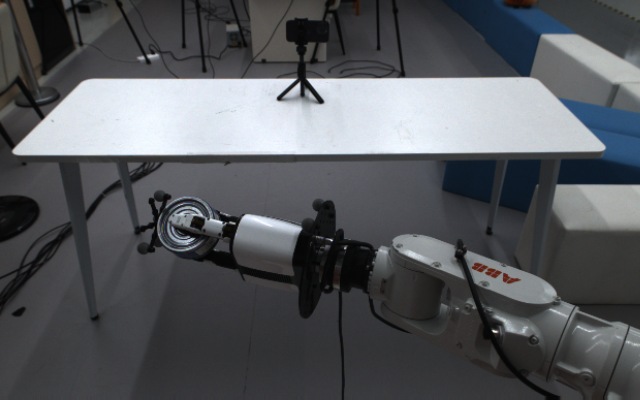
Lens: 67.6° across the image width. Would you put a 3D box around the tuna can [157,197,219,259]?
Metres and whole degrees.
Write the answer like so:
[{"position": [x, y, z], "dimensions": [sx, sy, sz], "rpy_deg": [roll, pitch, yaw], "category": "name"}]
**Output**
[{"position": [-0.182, 0.042, 0.681], "dimensions": [0.085, 0.034, 0.085], "rpy_deg": [-2, 70, 6], "category": "tuna can"}]
